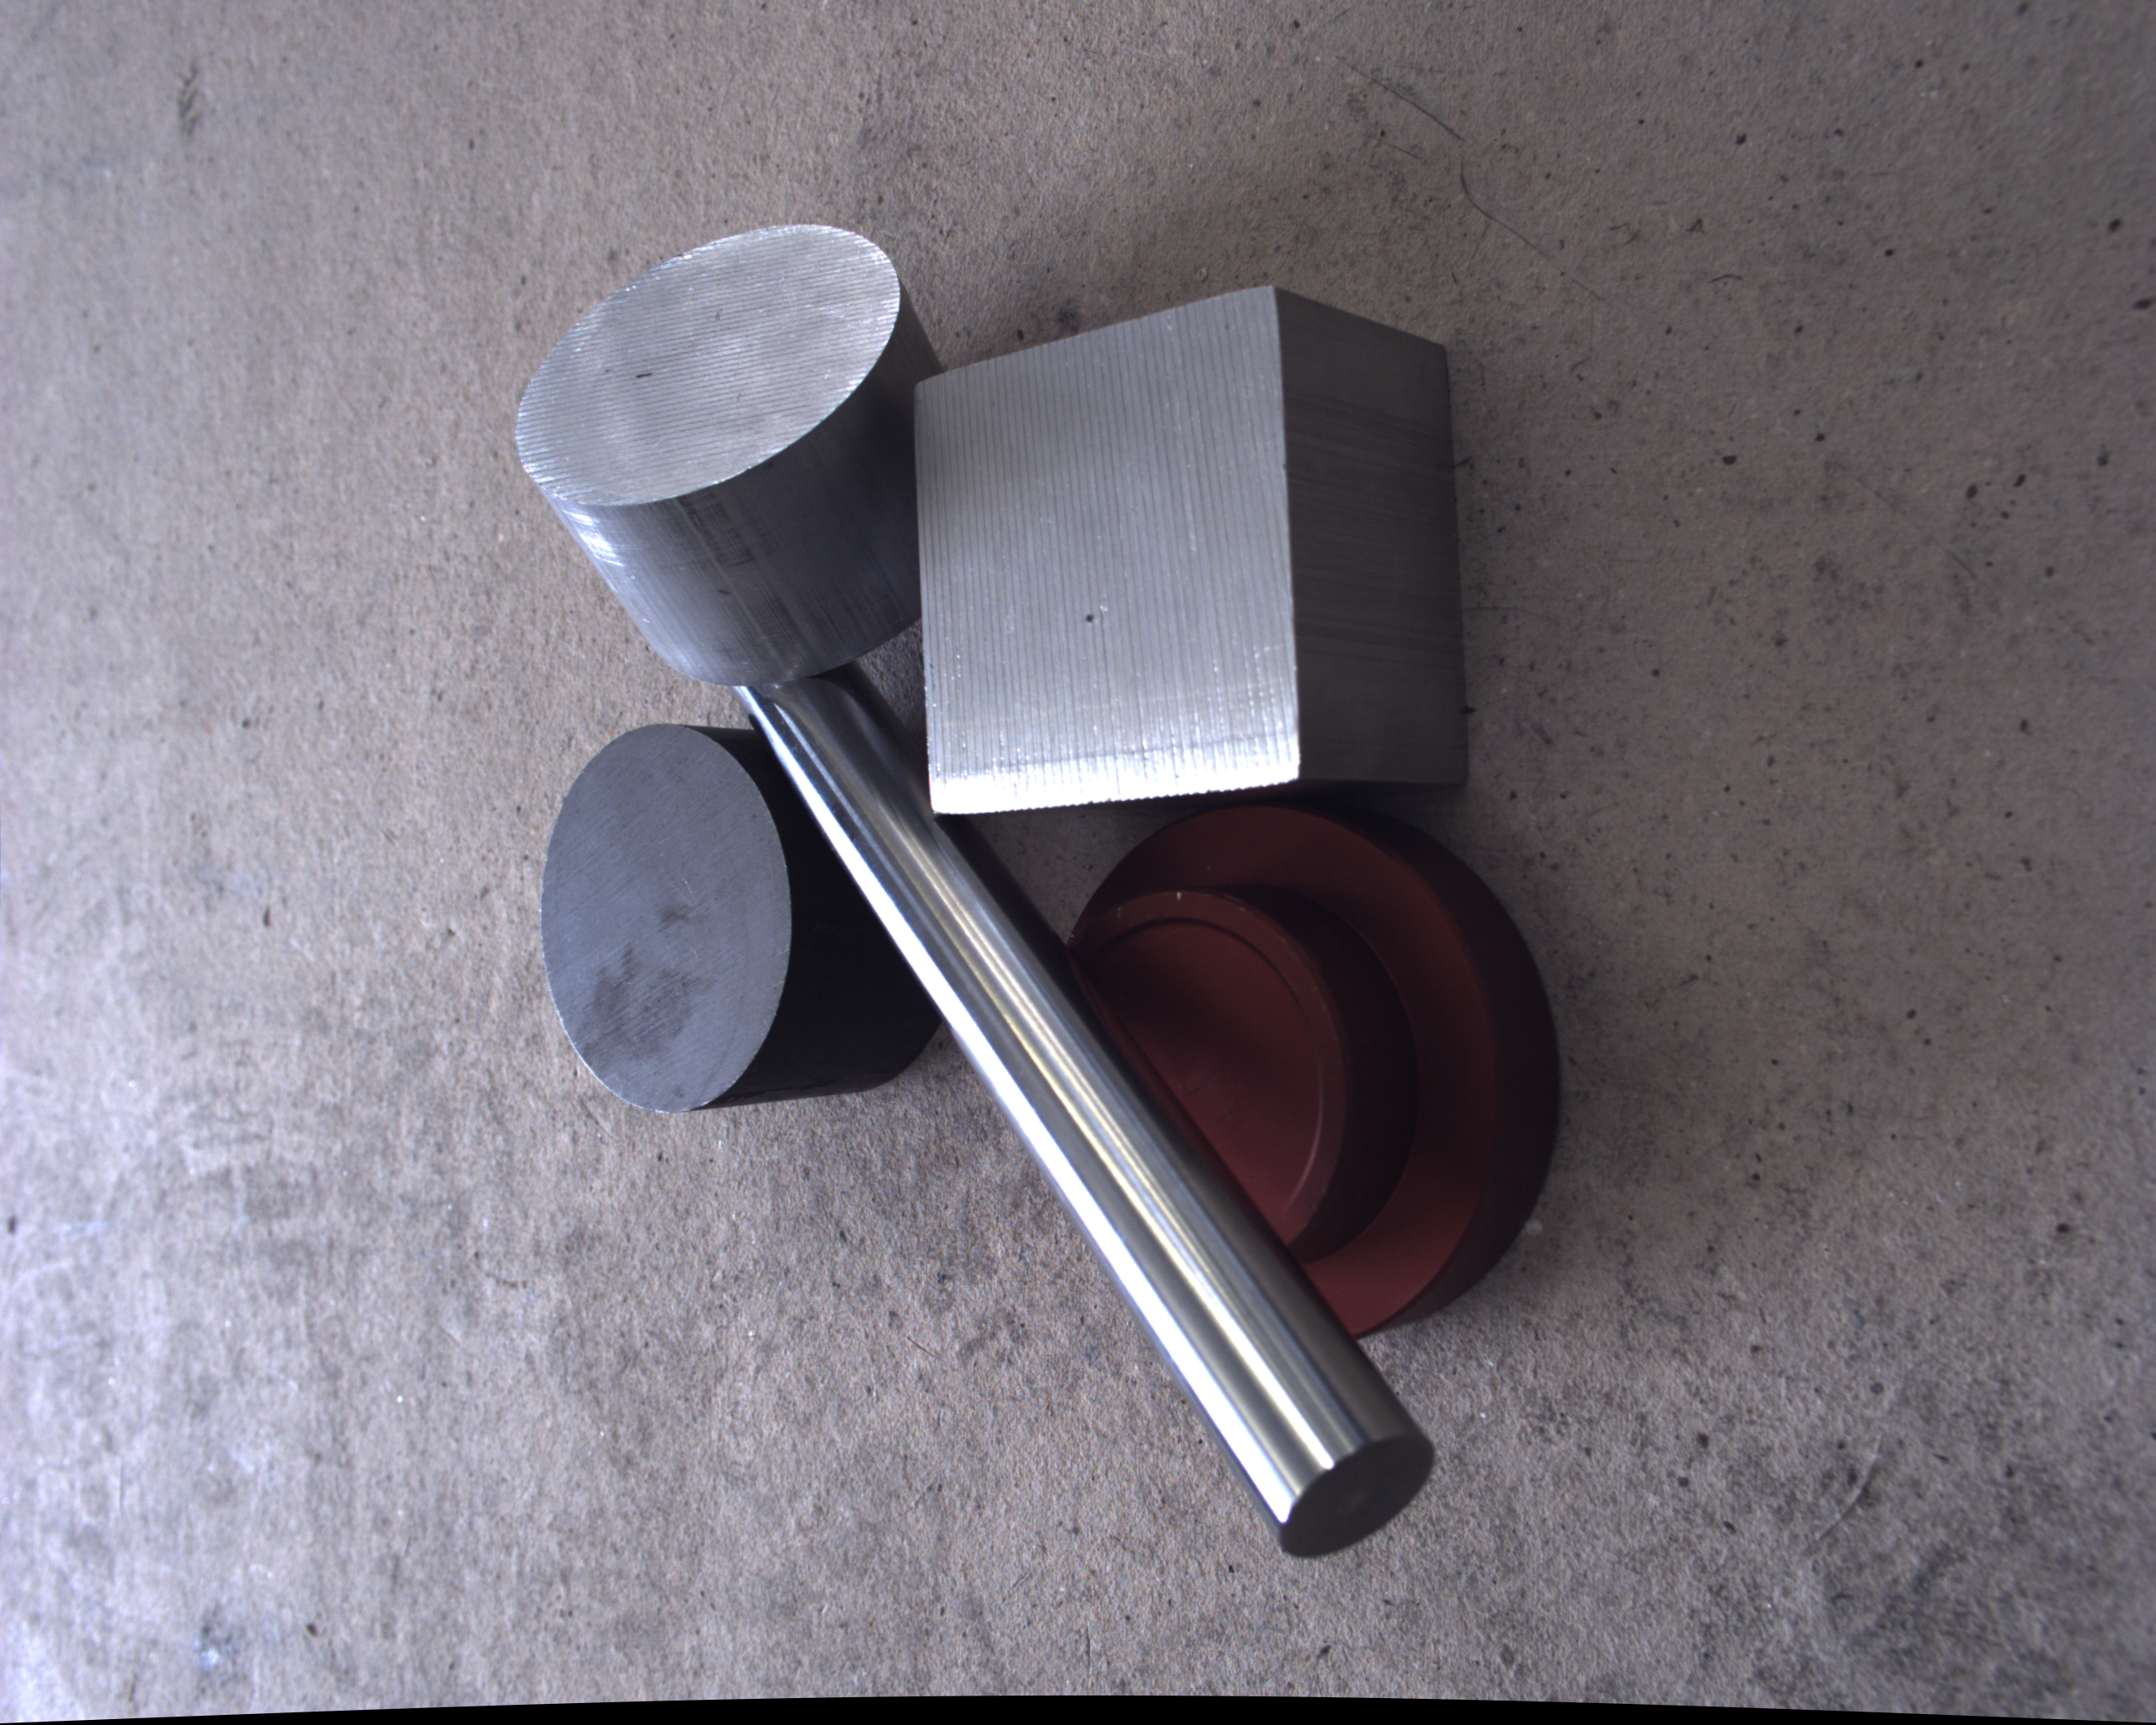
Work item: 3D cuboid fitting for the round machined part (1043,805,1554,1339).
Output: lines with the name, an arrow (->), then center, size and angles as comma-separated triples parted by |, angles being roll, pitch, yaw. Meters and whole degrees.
round machined part -> 0.030, 0.038, 0.369 | 0.098, 0.042, 0.097 | 0, 90, 40

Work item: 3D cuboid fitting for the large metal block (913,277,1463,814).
large metal block -> 0.019, -0.051, 0.372 | 0.080, 0.050, 0.080 | -4, 88, 40

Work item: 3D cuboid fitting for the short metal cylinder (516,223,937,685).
short metal cylinder -> -0.063, -0.082, 0.418 | 0.080, 0.050, 0.080 | -11, 50, 14

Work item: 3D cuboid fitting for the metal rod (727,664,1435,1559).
metal rod -> -0.030, 0.000, 0.387 | 0.025, 0.025, 0.300 | -60, 43, 23

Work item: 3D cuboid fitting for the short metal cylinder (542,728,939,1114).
short metal cylinder -> -0.070, 0.012, 0.449 | 0.080, 0.050, 0.080 | 0, 90, 40
